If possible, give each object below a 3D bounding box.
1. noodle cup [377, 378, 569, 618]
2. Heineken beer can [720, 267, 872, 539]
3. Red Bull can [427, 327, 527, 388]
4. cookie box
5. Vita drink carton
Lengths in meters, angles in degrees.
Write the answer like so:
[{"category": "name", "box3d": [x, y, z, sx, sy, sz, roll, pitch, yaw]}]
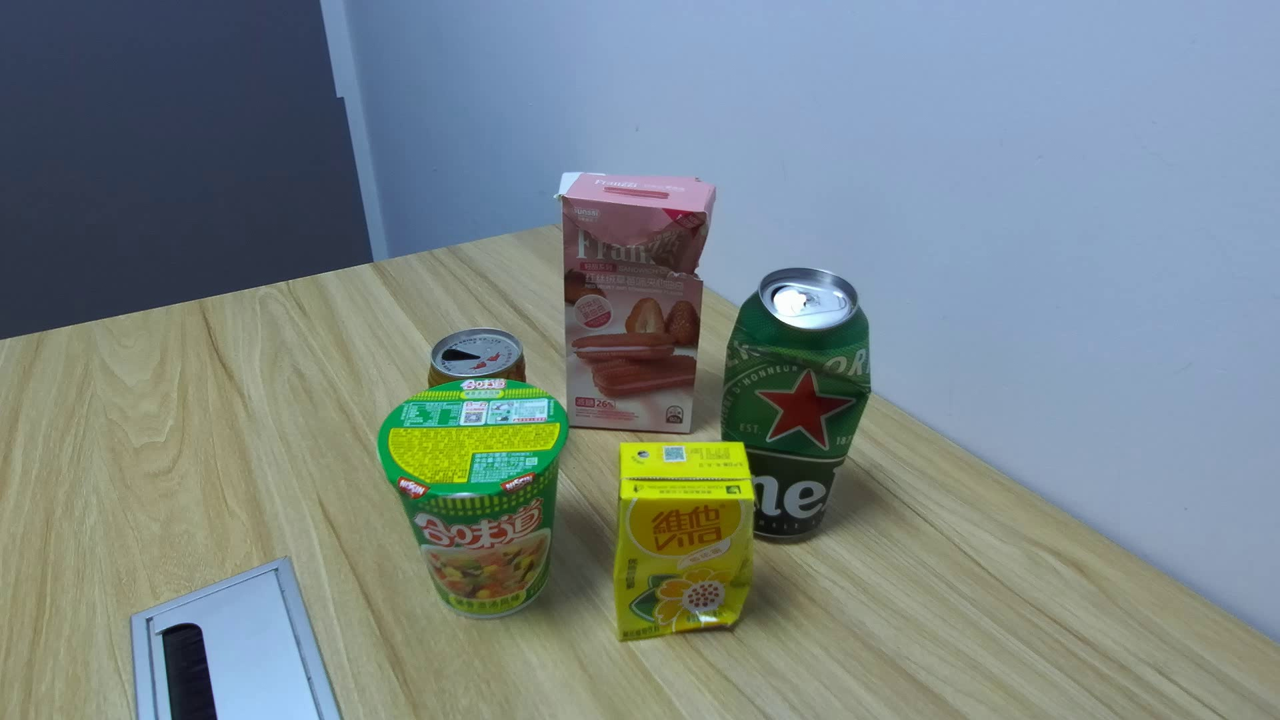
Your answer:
[{"category": "noodle cup", "box3d": [-0.088, 0.082, 0.393, 0.097, 0.110, 0.097, 2, 33, -1]}, {"category": "Heineken beer can", "box3d": [0.088, 0.033, 0.421, 0.069, 0.168, 0.068, -24, 42, -30]}, {"category": "Red Bull can", "box3d": [-0.107, 0.032, 0.487, 0.068, 0.093, 0.068, 1, 33, 0]}, {"category": "cookie box", "box3d": [-0.006, -0.035, 0.507, 0.105, 0.186, 0.059, 5, 35, 3]}, {"category": "Vita drink carton", "box3d": [0.025, 0.097, 0.372, 0.076, 0.109, 0.043, 1, 33, -1]}]
